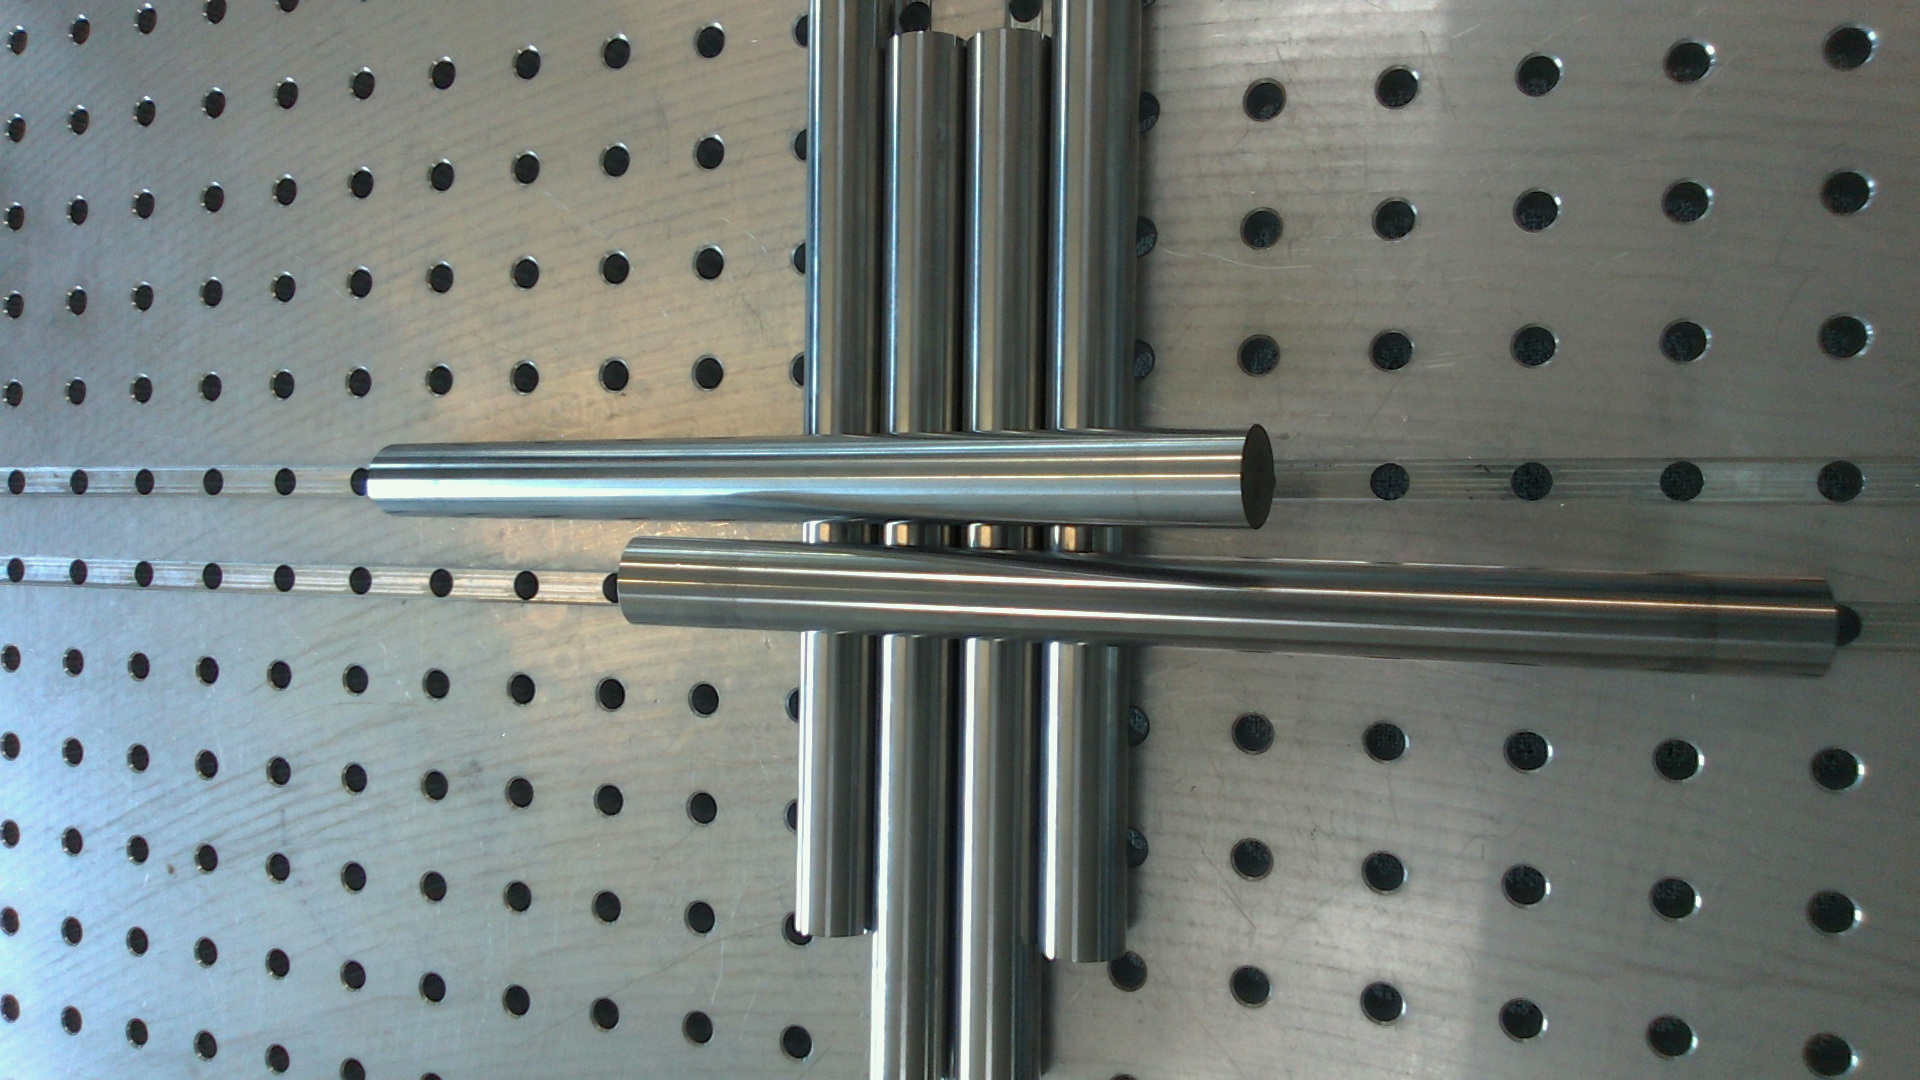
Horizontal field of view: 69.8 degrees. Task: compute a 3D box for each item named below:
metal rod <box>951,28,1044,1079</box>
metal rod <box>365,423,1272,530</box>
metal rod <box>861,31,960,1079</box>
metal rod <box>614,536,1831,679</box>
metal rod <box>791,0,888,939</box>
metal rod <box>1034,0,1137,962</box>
[{"bbox_3d":[0.012,0.008,0.395,0.025,0.025,0.300,1,90,20],"label":"metal rod"},{"bbox_3d":[-0.061,-0.018,0.396,0.299,0.025,0.025,1,91,29],"label":"metal rod"},{"bbox_3d":[-0.013,0.006,0.402,0.025,0.025,0.300,1,91,20],"label":"metal rod"},{"bbox_3d":[0.055,0.016,0.356,0.299,0.025,0.025,2,91,11],"label":"metal rod"},{"bbox_3d":[-0.036,-0.034,0.410,0.025,0.025,0.300,1,90,20],"label":"metal rod"},{"bbox_3d":[0.035,-0.036,0.385,0.025,0.025,0.300,1,90,20],"label":"metal rod"}]
